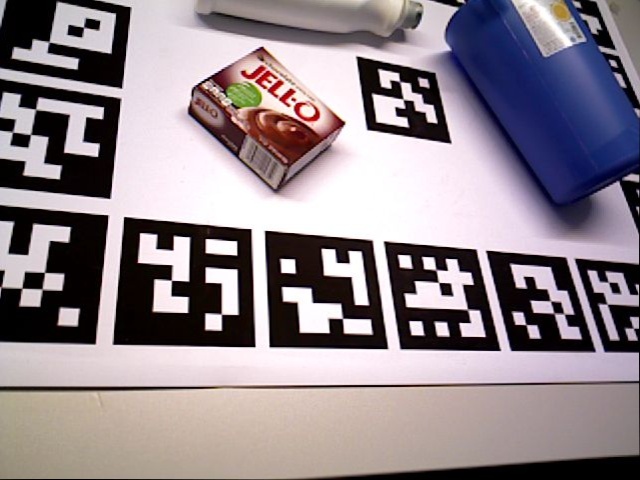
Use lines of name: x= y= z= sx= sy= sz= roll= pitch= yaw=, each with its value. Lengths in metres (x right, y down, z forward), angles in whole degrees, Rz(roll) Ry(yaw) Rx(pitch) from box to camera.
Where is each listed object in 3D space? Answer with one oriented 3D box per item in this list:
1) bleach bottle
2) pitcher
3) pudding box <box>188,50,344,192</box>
bleach bottle: x=-0.003 y=-0.262 z=0.570 sx=0.247 sy=0.069 sz=0.102 roll=3 pitch=68 yaw=-23
pitcher: x=0.252 y=-0.149 z=0.598 sx=0.186 sy=0.135 sz=0.242 roll=-5 pitch=68 yaw=-62
pudding box: x=-0.047 y=-0.108 z=0.484 sx=0.114 sy=0.039 sz=0.088 roll=46 pitch=52 yaw=2
